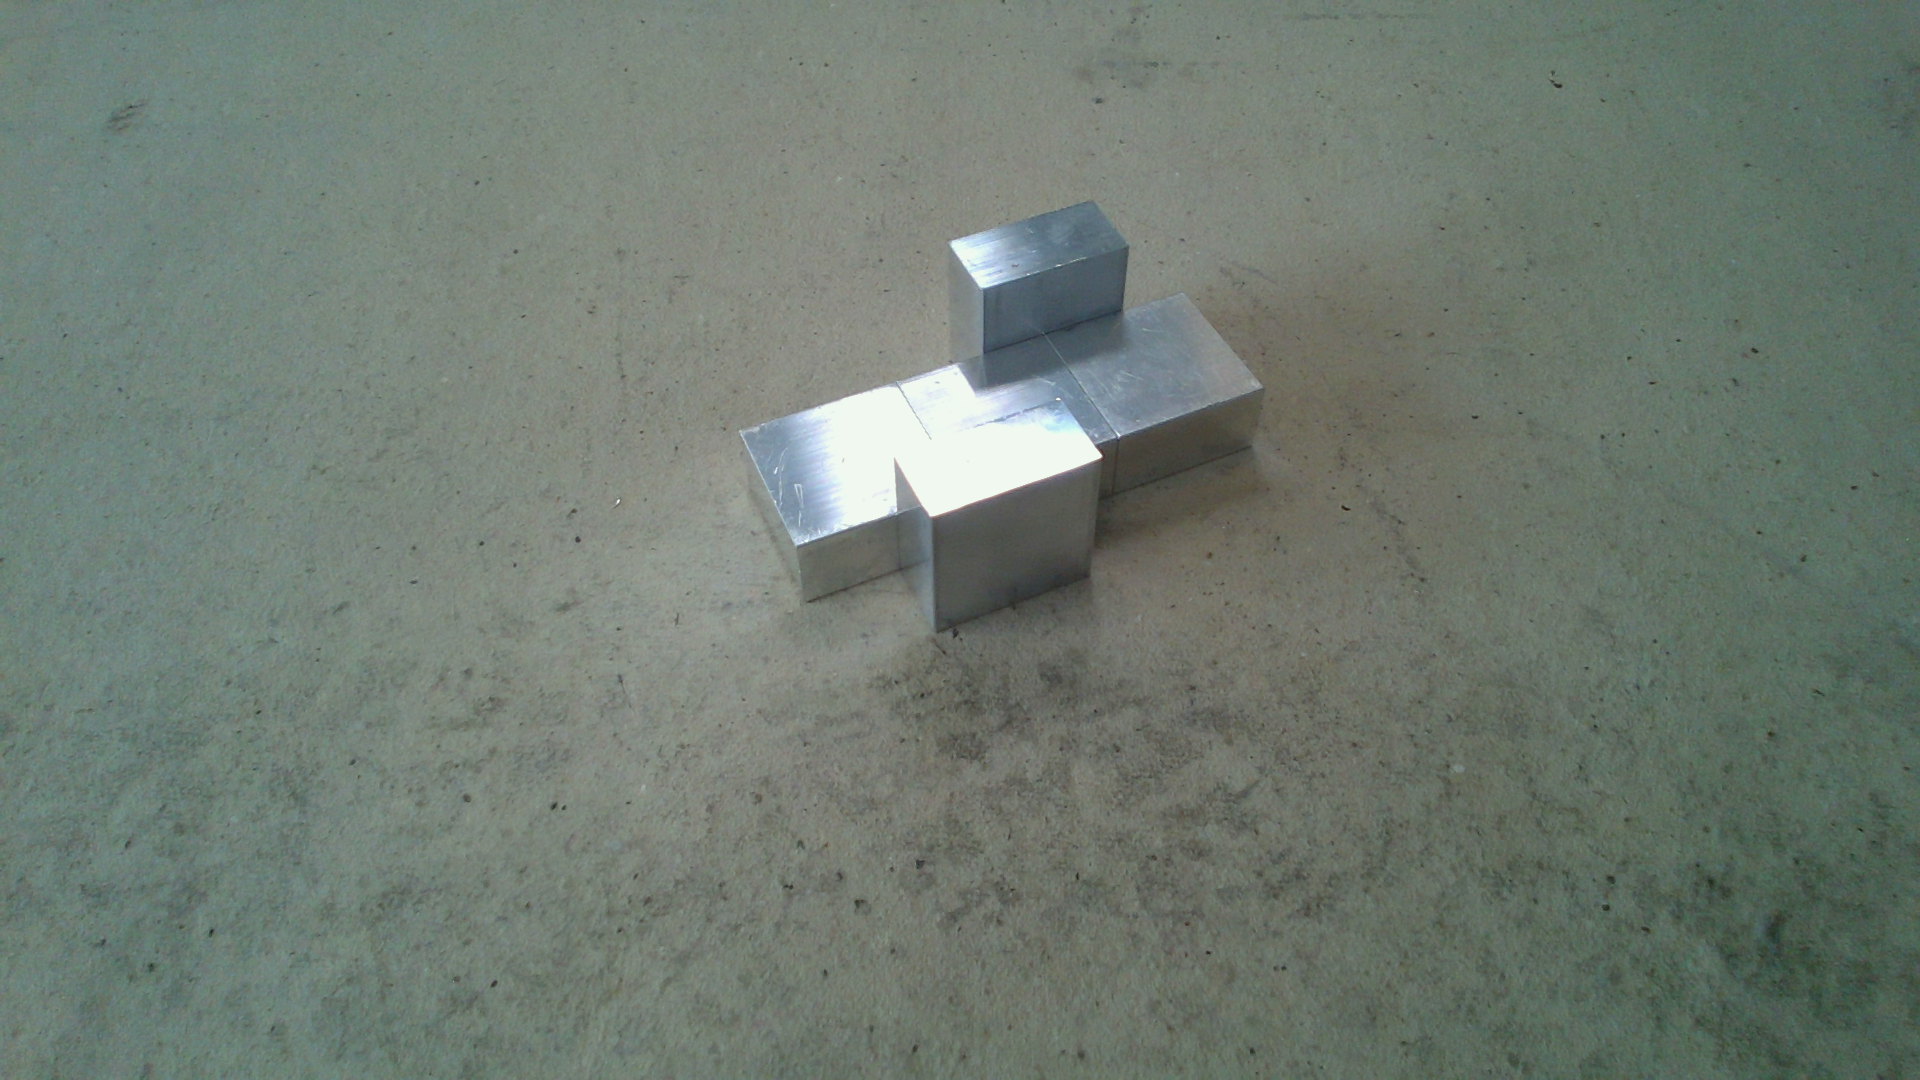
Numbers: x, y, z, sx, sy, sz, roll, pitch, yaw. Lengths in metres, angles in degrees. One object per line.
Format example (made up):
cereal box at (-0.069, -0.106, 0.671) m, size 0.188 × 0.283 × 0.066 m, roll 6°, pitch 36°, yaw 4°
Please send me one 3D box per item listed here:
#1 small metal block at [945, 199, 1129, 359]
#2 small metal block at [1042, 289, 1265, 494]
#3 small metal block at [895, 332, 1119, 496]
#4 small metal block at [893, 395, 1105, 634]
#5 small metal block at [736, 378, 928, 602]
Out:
small metal block at (0.024, -0.075, 0.439) m, size 0.050 × 0.050 × 0.025 m, roll -20°, pitch 53°, yaw -15°
small metal block at (0.059, -0.048, 0.432) m, size 0.050 × 0.025 × 0.050 m, roll -19°, pitch 53°, yaw -16°
small metal block at (0.013, -0.032, 0.418) m, size 0.050 × 0.025 × 0.050 m, roll -19°, pitch 53°, yaw -16°
small metal block at (0.011, -0.007, 0.382) m, size 0.050 × 0.050 × 0.025 m, roll -20°, pitch 52°, yaw -15°
small metal block at (-0.033, -0.016, 0.405) m, size 0.050 × 0.025 × 0.050 m, roll -19°, pitch 53°, yaw -16°
